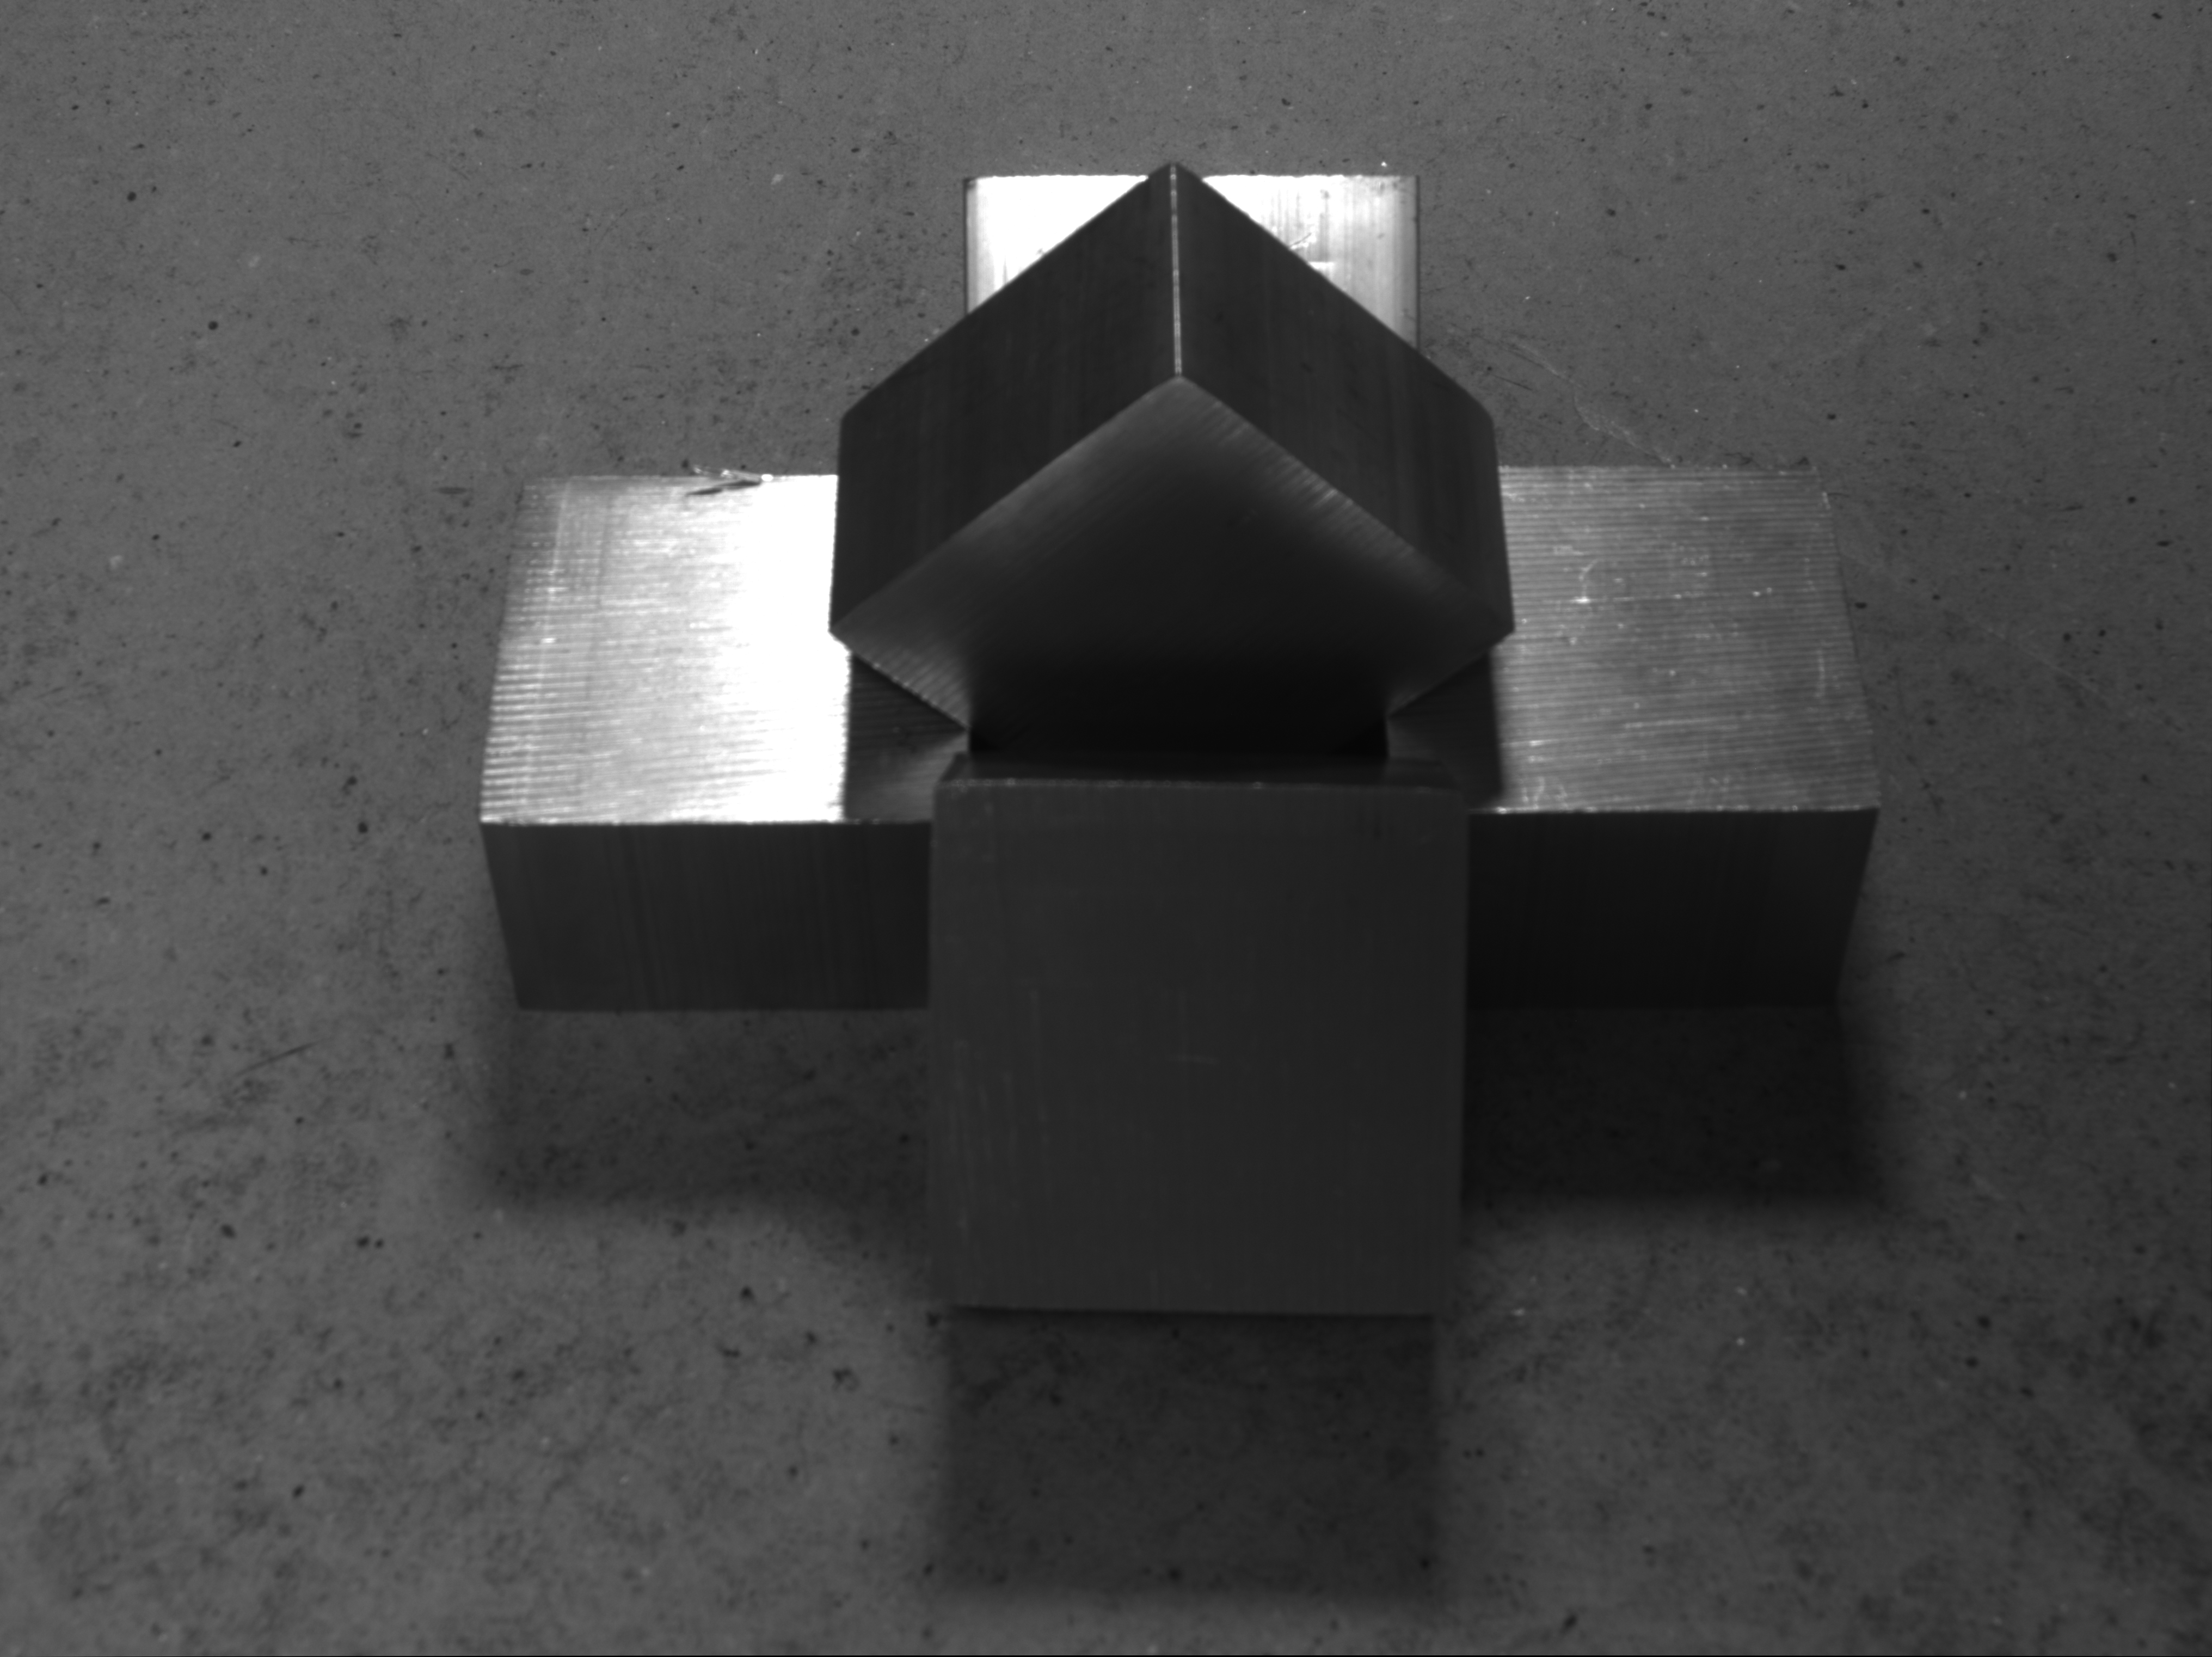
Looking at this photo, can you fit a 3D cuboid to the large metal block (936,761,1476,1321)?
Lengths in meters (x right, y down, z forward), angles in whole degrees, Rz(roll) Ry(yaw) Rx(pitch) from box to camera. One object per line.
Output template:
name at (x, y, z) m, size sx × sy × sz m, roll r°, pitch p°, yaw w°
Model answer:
large metal block at (0.016, 0.031, 0.572) m, size 0.080 × 0.080 × 0.050 m, roll 0°, pitch 7°, yaw 2°

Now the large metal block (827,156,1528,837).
large metal block at (0.011, -0.051, 0.606) m, size 0.080 × 0.080 × 0.050 m, roll -33°, pitch 40°, yaw 32°

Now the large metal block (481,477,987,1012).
large metal block at (-0.061, -0.015, 0.639) m, size 0.080 × 0.050 × 0.080 m, roll 0°, pitch 50°, yaw 0°

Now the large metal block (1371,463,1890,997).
large metal block at (0.087, -0.018, 0.637) m, size 0.080 × 0.050 × 0.080 m, roll 0°, pitch 50°, yaw 0°

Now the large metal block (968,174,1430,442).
large metal block at (0.017, -0.090, 0.675) m, size 0.080 × 0.080 × 0.050 m, roll 0°, pitch 93°, yaw 0°
